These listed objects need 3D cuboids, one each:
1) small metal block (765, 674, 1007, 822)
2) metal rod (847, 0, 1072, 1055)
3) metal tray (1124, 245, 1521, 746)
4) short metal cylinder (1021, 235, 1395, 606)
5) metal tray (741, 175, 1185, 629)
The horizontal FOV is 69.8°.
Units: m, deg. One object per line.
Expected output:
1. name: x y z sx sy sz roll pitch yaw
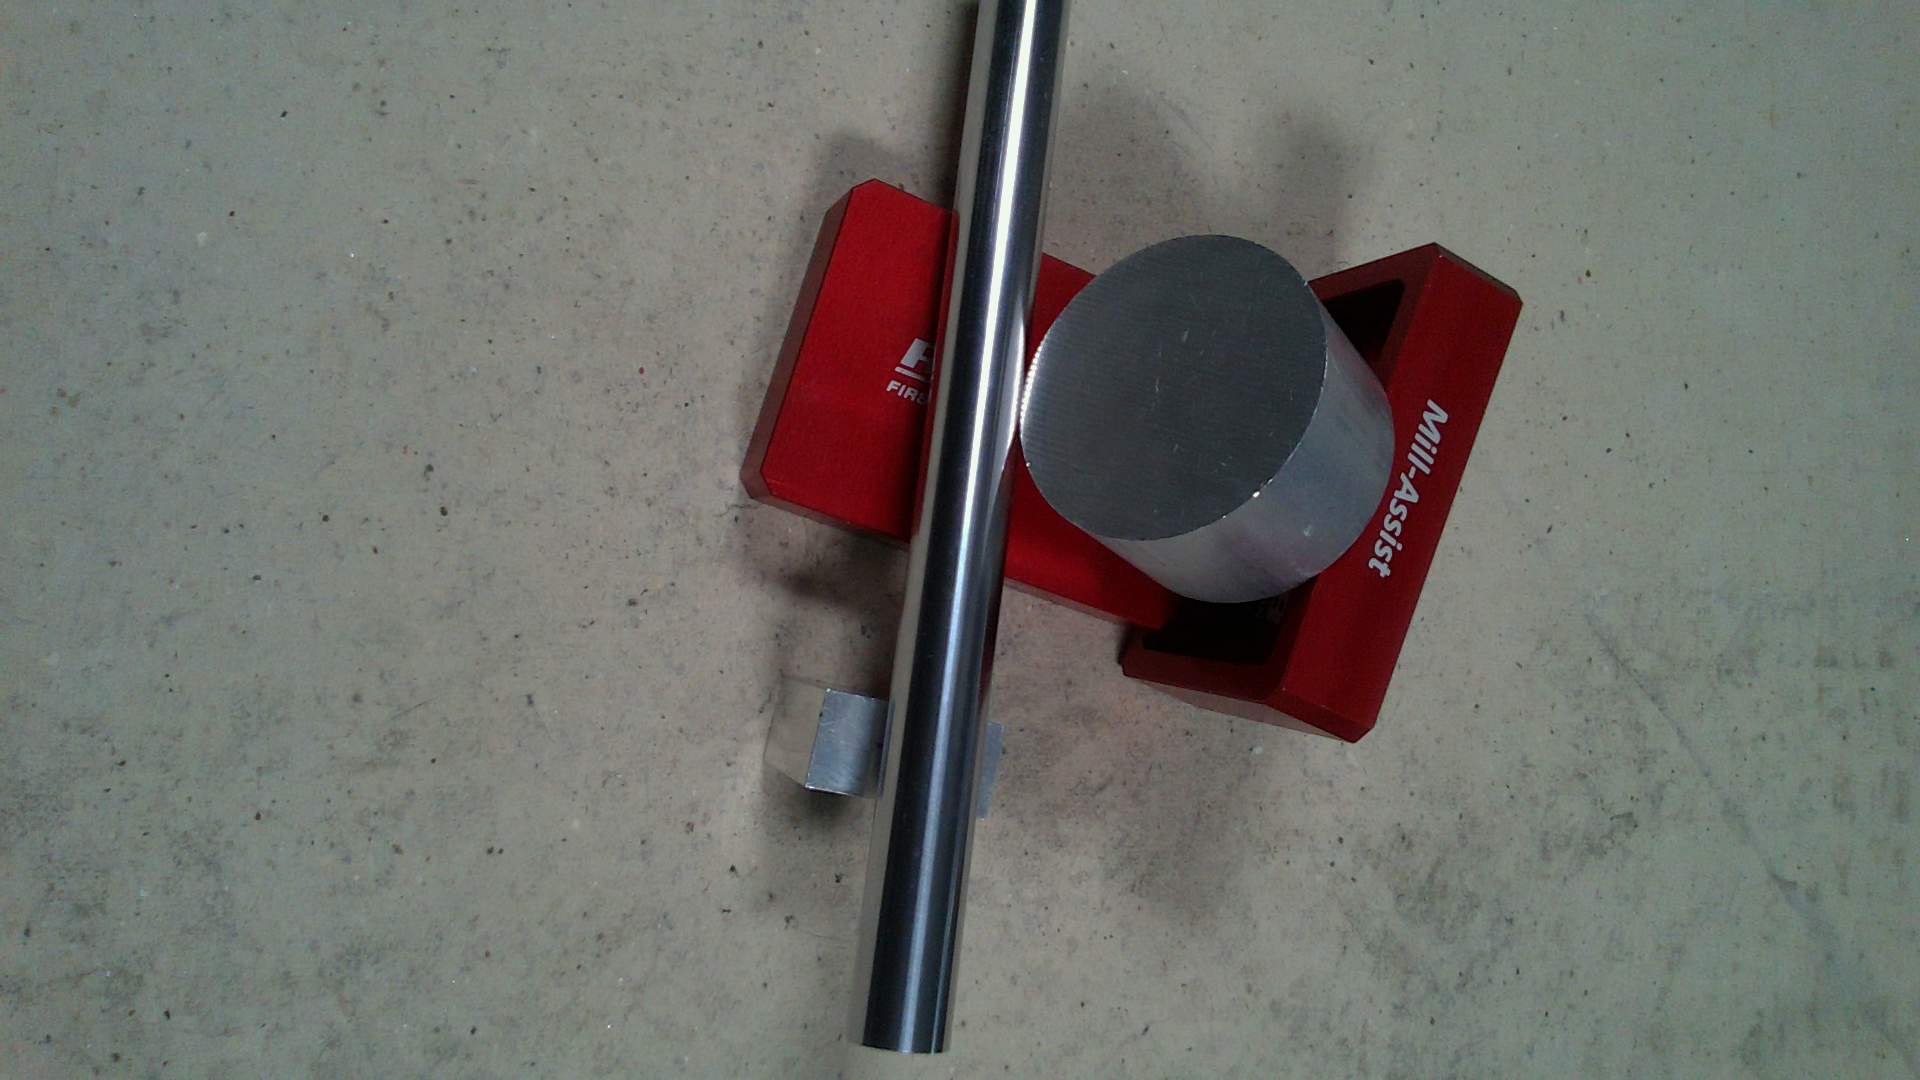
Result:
1. small metal block: -0.022 0.055 0.372 0.050 0.050 0.025 13 86 -19
2. metal rod: 0.004 -0.027 0.353 0.025 0.025 0.300 11 77 -19
3. metal tray: 0.100 -0.012 0.395 0.030 0.090 0.130 24 82 -18
4. short metal cylinder: 0.063 -0.029 0.348 0.050 0.080 0.080 31 78 -51
5. metal tray: 0.013 -0.036 0.395 0.130 0.030 0.090 19 84 -19
